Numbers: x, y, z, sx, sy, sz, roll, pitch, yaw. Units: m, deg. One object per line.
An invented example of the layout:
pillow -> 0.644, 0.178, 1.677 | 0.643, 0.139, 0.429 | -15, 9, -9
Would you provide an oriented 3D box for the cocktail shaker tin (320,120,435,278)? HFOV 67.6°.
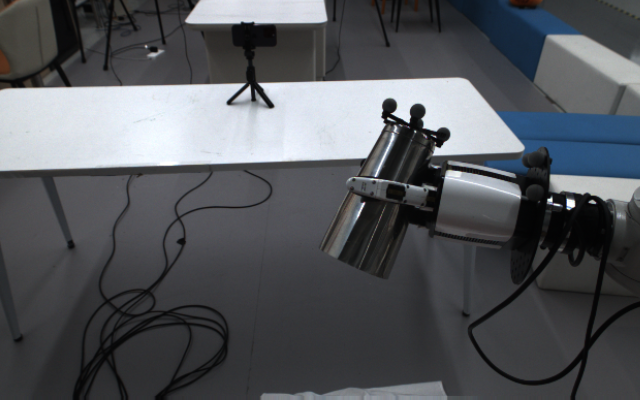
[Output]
cocktail shaker tin -> 0.077, -0.004, 0.583 | 0.093, 0.170, 0.093 | 23, 0, 0
